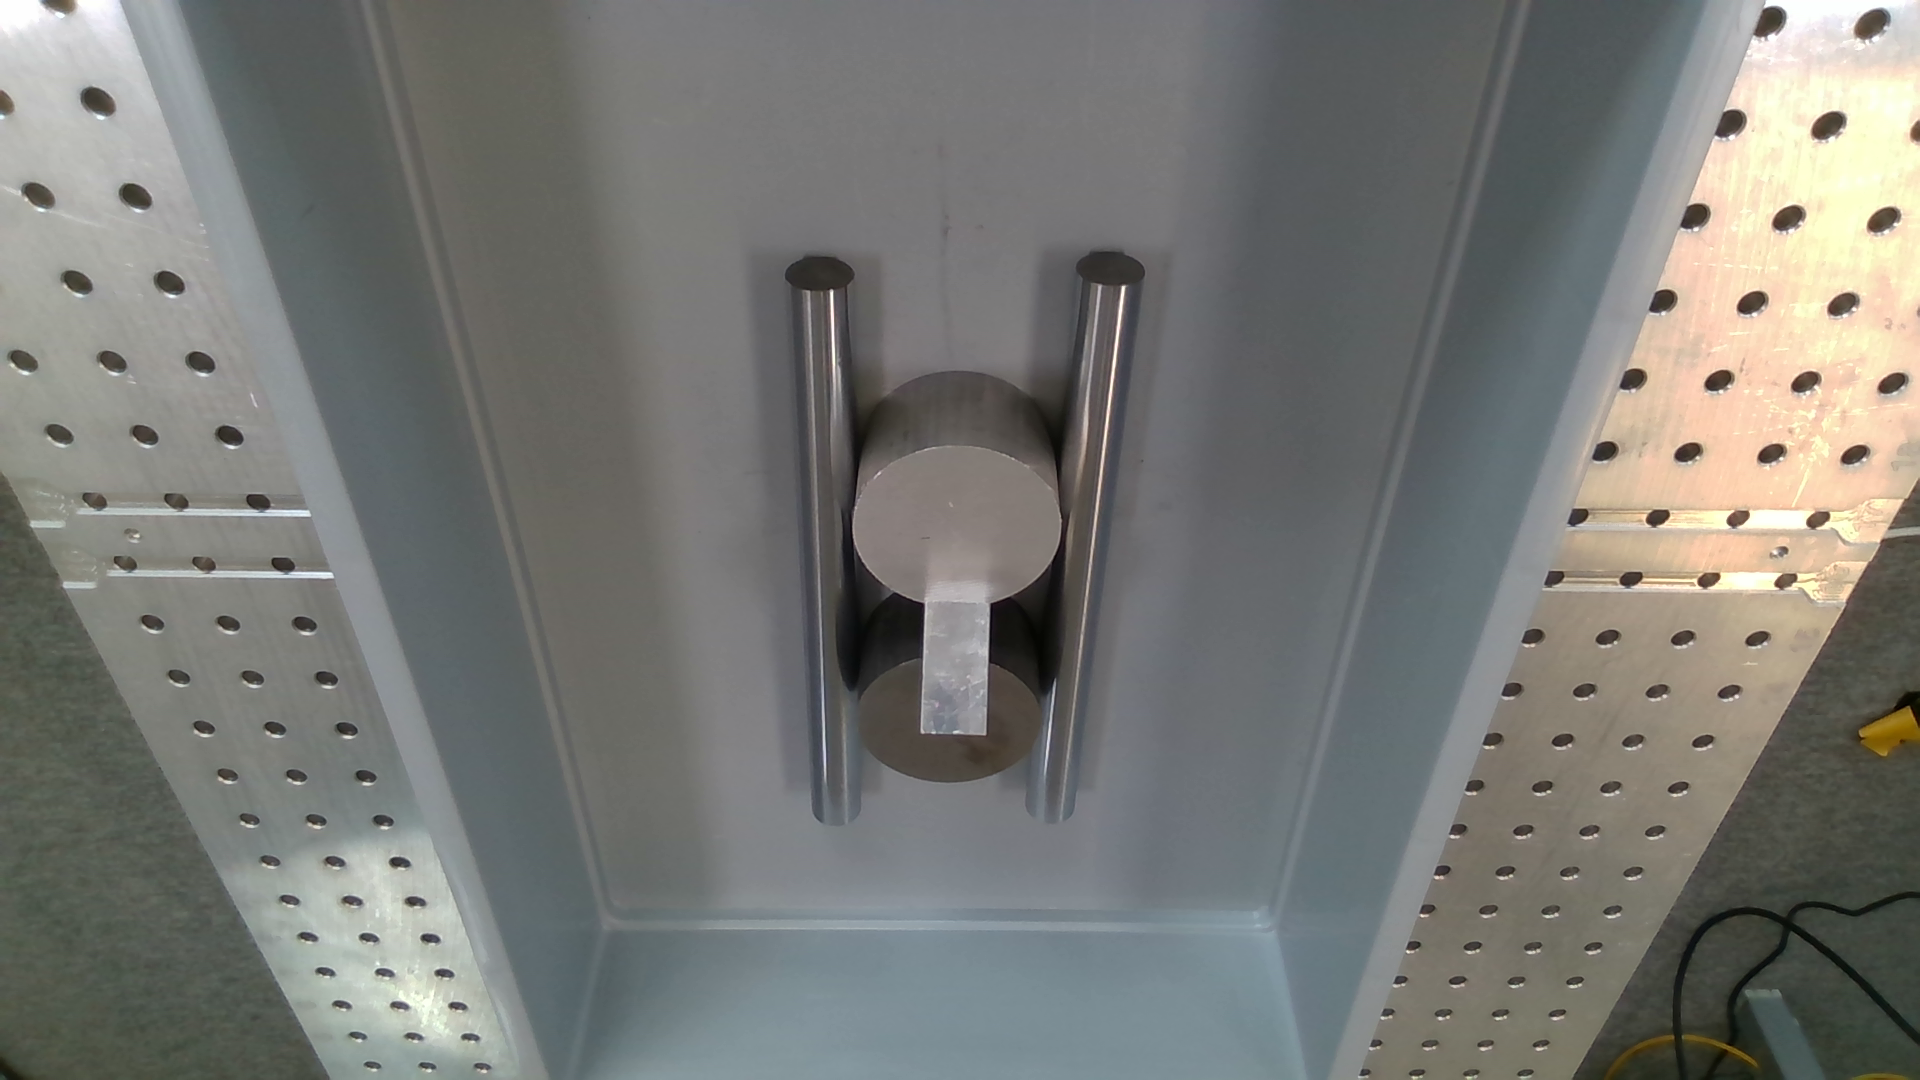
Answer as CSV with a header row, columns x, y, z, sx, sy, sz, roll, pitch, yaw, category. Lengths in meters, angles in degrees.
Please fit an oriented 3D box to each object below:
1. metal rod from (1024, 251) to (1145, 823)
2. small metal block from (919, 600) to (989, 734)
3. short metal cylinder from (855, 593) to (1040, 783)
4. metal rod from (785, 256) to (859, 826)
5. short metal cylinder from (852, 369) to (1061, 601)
x,y,z,sx,sy,sz,roll,pitch,yaw,category
0.049,0.017,0.593,0.025,0.025,0.301,1,130,-1,metal rod
-0.003,0.051,0.545,0.025,0.050,0.050,2,173,-3,small metal block
-0.005,0.063,0.616,0.080,0.050,0.080,0,130,0,short metal cylinder
-0.057,0.018,0.594,0.025,0.025,0.301,2,130,-1,metal rod
-0.001,-0.020,0.546,0.080,0.050,0.080,0,130,0,short metal cylinder
